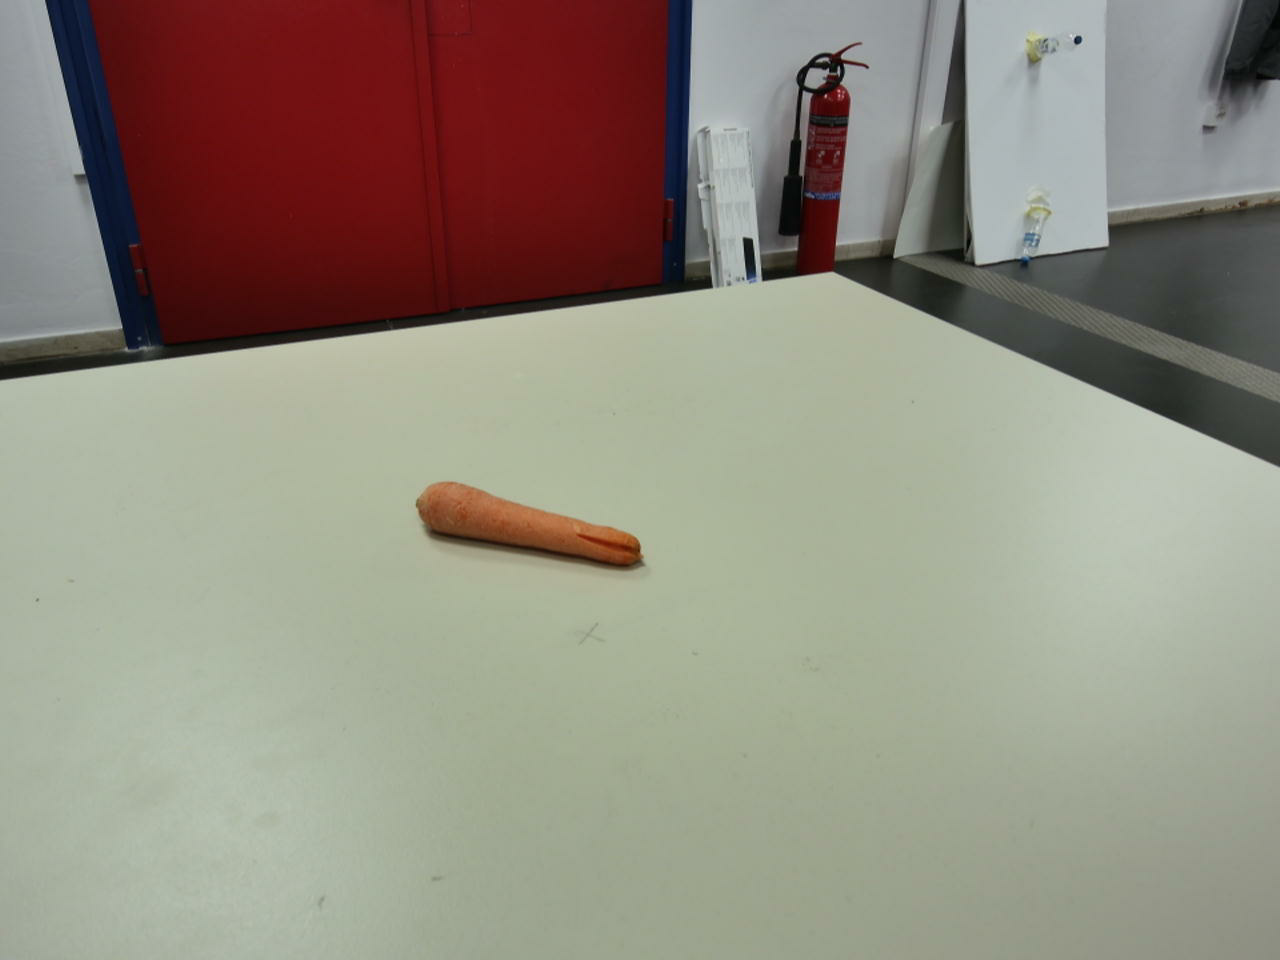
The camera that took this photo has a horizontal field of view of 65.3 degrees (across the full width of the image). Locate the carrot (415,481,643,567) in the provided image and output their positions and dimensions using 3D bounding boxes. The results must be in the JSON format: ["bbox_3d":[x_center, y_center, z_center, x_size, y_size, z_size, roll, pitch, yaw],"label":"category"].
[{"bbox_3d":[-0.063,0.023,0.552,0.136,0.032,0.030,9,27,18],"label":"carrot"}]
